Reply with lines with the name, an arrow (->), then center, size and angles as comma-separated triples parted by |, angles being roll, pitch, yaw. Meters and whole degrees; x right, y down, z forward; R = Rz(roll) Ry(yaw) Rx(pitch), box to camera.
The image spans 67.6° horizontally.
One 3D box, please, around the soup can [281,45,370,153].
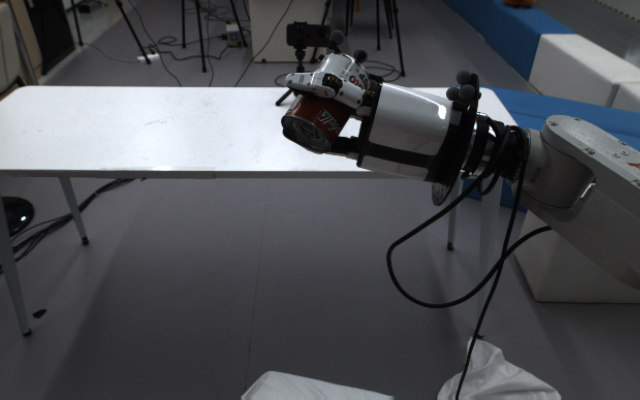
soup can -> 0.010, -0.116, 0.577 | 0.067, 0.067, 0.101 | 22, 71, 27
